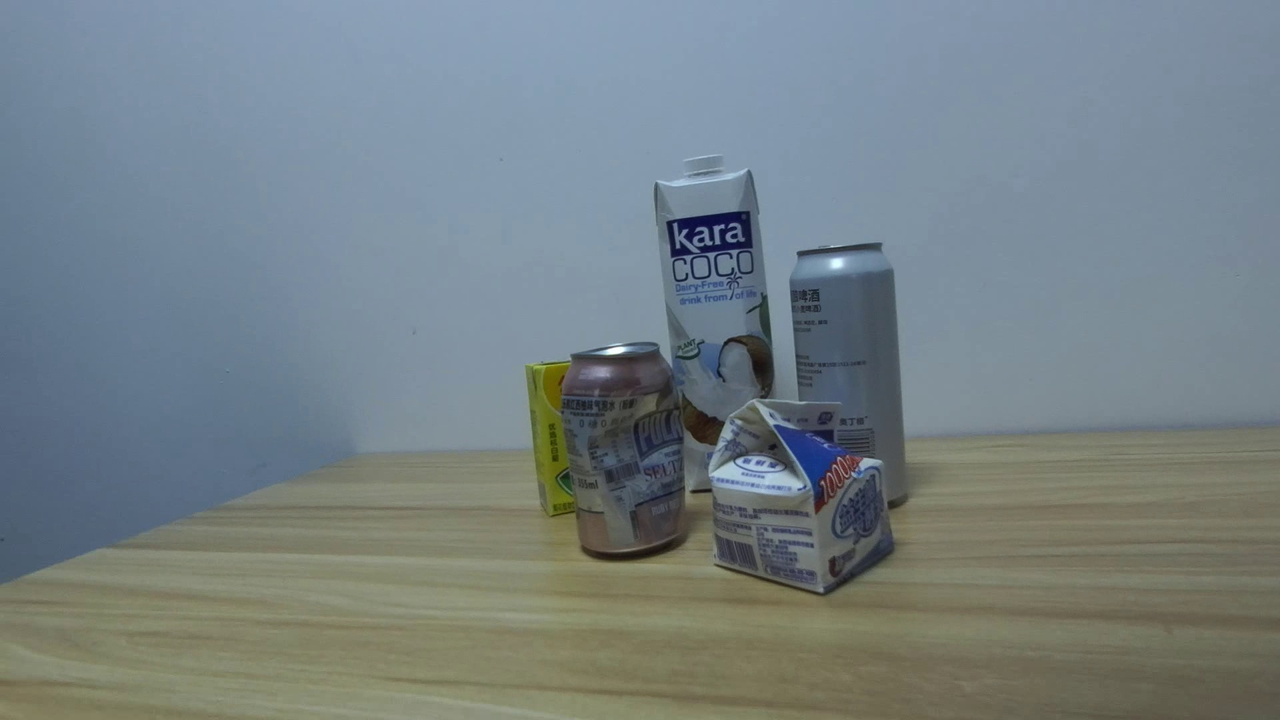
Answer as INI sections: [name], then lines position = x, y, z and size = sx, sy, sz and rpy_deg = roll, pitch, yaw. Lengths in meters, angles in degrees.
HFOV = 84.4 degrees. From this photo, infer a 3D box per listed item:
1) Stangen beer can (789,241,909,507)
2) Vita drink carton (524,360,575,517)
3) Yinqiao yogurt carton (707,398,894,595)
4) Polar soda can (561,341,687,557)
[Stangen beer can]
position = 0.137, 0.010, 0.469
size = 0.067, 0.171, 0.067
rpy_deg = -6, 4, 1
[Vita drink carton]
position = -0.046, 0.054, 0.531
size = 0.067, 0.109, 0.043
rpy_deg = -6, 7, -20
[Yinqiao yogurt carton]
position = 0.082, 0.061, 0.376
size = 0.083, 0.093, 0.077
rpy_deg = -11, 8, -42
[Polar soda can]
position = -0.007, 0.053, 0.430
size = 0.074, 0.121, 0.067
rpy_deg = -8, 6, -5
